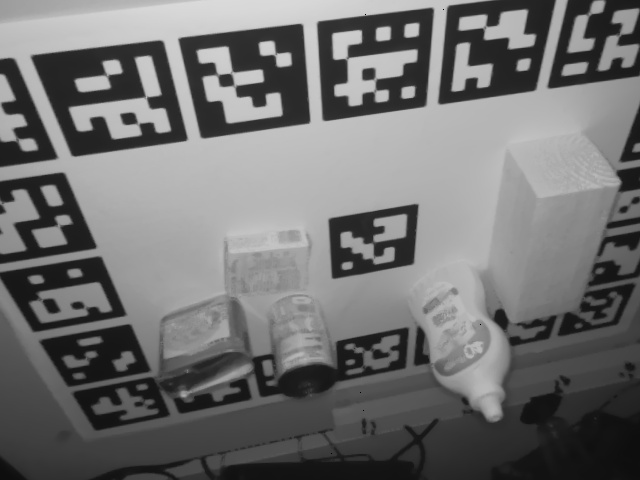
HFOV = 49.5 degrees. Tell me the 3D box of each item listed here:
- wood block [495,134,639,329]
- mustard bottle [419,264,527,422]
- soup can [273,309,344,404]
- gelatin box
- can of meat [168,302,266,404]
[{"bbox_3d":[0.262,-0.004,0.761,0.091,0.090,0.204,-8,136,-4],"label":"wood block"},{"bbox_3d":[0.181,0.120,0.787,0.095,0.192,0.058,-28,132,13],"label":"mustard bottle"},{"bbox_3d":[-0.015,0.137,0.793,0.068,0.102,0.067,-7,131,-8],"label":"soup can"},{"bbox_3d":[-0.051,0.029,0.743,0.090,0.030,0.072,-4,130,-15],"label":"gelatin box"},{"bbox_3d":[-0.116,0.125,0.781,0.101,0.084,0.057,-18,132,6],"label":"can of meat"}]
